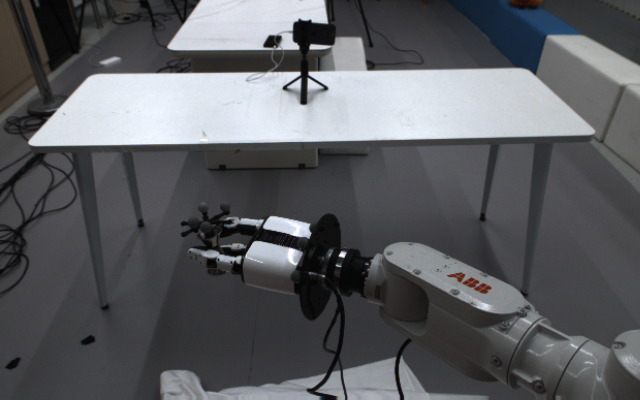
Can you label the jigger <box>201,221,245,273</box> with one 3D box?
[{"bbox_3d":[-0.165,0.079,0.777,0.043,0.071,0.043,-10,25,5],"label":"jigger"}]
